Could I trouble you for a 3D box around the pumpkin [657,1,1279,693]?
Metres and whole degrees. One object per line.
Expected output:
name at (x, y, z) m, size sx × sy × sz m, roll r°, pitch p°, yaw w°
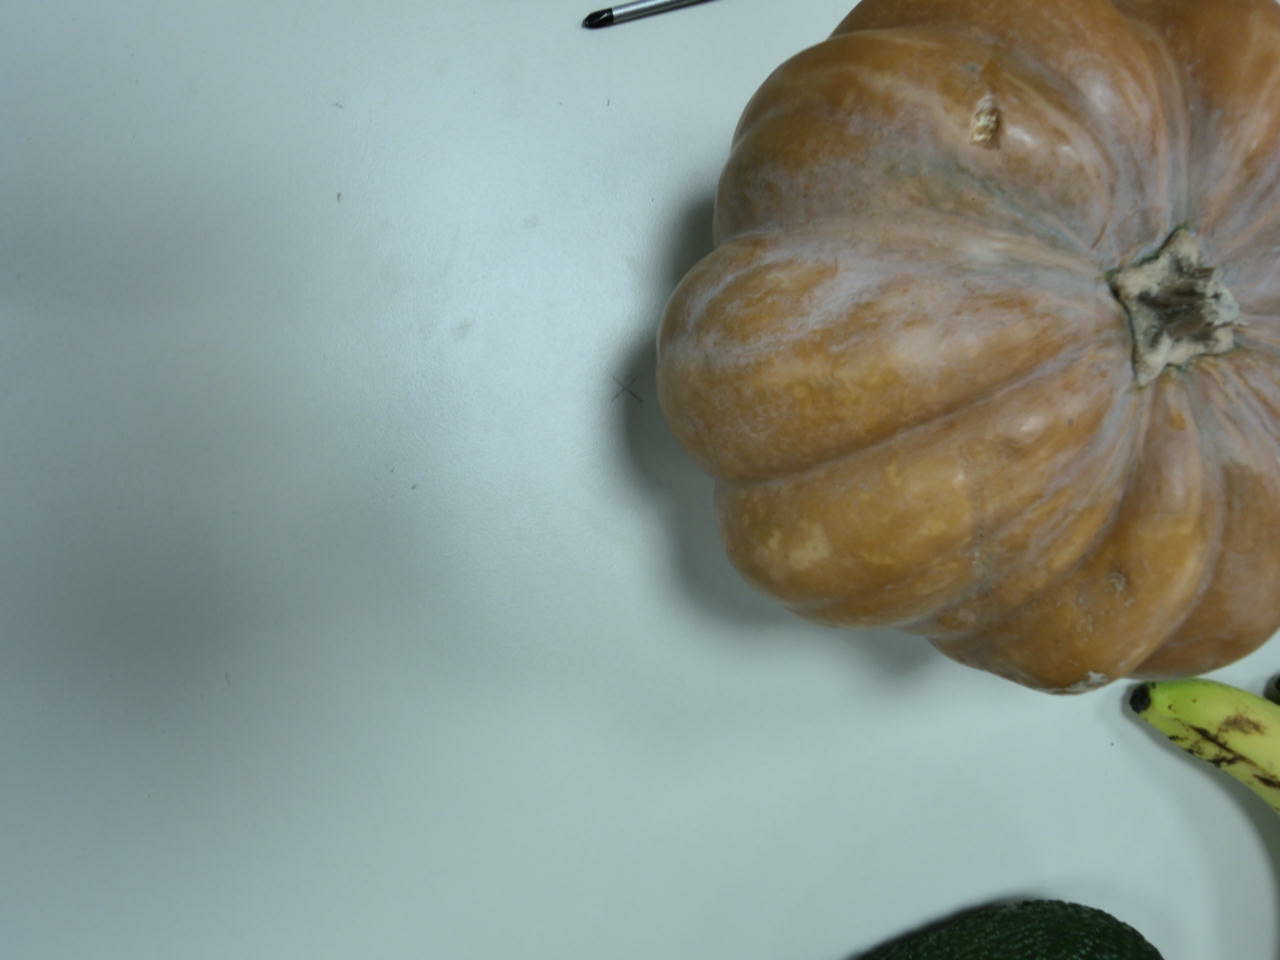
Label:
pumpkin at (0.142, -0.054, 0.371) m, size 0.277 × 0.181 × 0.277 m, roll 0°, pitch 91°, yaw -12°
